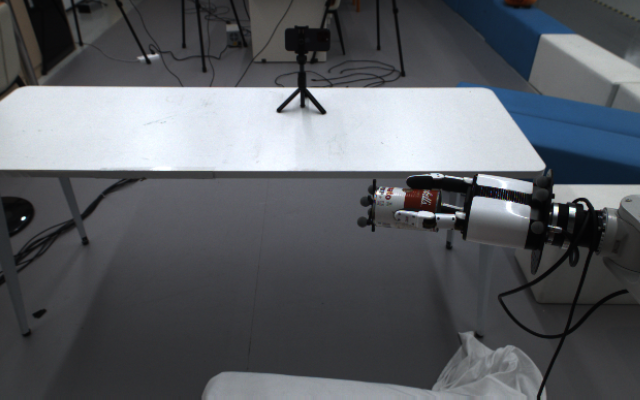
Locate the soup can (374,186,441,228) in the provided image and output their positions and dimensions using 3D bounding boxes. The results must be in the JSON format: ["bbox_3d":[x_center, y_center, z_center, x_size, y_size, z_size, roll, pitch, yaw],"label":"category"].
[{"bbox_3d":[0.144,0.014,0.785,0.101,0.067,0.067,4,34,18],"label":"soup can"}]
